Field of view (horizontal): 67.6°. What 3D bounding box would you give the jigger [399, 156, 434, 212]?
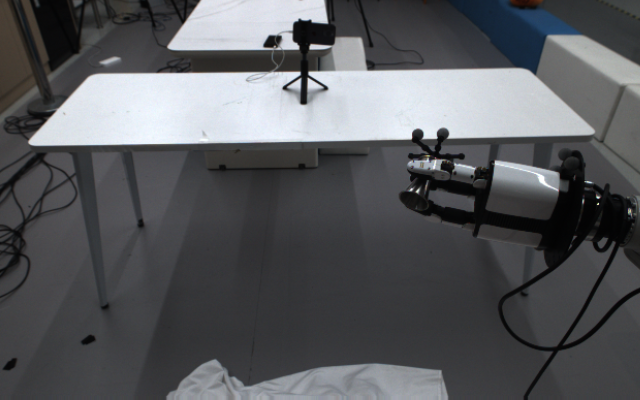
[{"bbox_3d":[0.143,-0.028,0.679,0.043,0.043,0.071,19,61,23],"label":"jigger"}]
